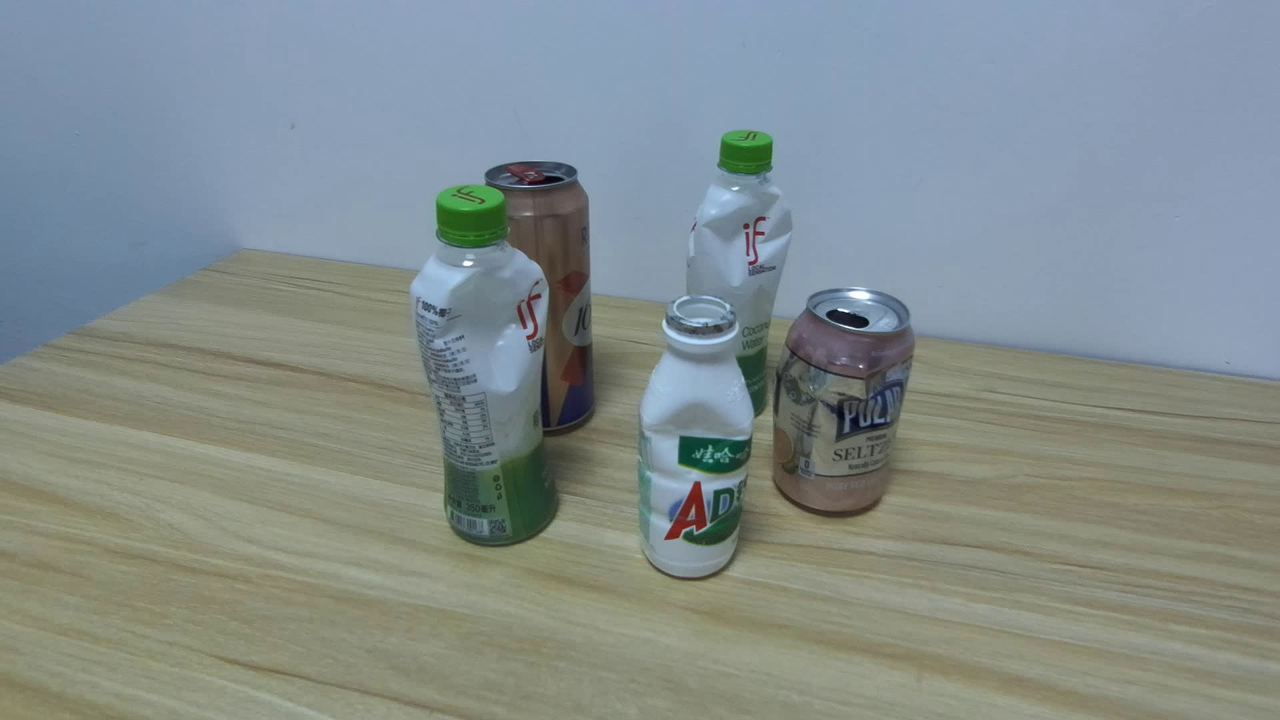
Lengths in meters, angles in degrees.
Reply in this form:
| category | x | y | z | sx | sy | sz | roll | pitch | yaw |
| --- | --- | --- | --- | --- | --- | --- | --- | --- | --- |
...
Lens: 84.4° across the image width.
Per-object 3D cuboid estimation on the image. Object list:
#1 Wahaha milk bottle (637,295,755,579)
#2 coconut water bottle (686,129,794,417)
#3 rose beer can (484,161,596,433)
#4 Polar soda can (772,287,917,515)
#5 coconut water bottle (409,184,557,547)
| category | x | y | z | sx | sy | sz | roll | pitch | yaw |
| --- | --- | --- | --- | --- | --- | --- | --- | --- | --- |
| Wahaha milk bottle | 0.026 | 0.041 | 0.344 | 0.056 | 0.148 | 0.056 | 2 | 32 | -1 |
| coconut water bottle | 0.059 | -0.048 | 0.453 | 0.067 | 0.187 | 0.067 | 1 | 29 | 0 |
| rose beer can | -0.064 | -0.036 | 0.458 | 0.068 | 0.169 | 0.068 | 1 | 25 | 0 |
| Polar soda can | 0.112 | 0.025 | 0.401 | 0.074 | 0.122 | 0.067 | 7 | 29 | 9 |
| coconut water bottle | -0.077 | 0.006 | 0.362 | 0.069 | 0.187 | 0.069 | 2 | 28 | -1 |
